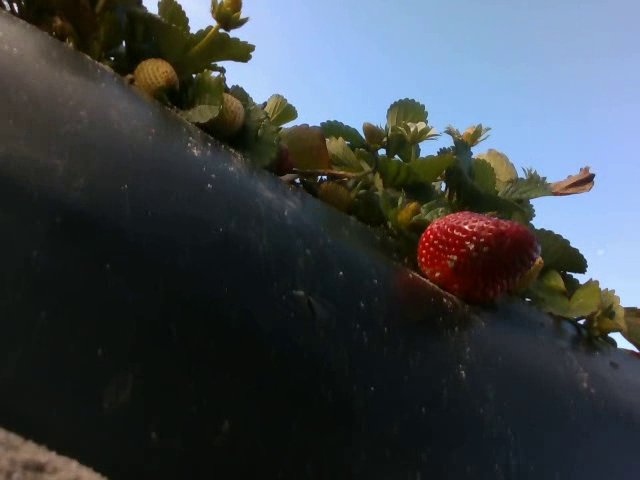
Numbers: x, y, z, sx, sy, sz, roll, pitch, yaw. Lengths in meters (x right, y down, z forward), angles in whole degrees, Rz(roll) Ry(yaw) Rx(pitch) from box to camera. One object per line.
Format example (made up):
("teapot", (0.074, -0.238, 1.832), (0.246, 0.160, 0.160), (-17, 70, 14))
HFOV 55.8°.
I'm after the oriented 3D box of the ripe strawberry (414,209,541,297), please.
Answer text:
("ripe strawberry", (0.081, 0.002, 0.295), (0.052, 0.045, 0.067), (29, -18, -14))
